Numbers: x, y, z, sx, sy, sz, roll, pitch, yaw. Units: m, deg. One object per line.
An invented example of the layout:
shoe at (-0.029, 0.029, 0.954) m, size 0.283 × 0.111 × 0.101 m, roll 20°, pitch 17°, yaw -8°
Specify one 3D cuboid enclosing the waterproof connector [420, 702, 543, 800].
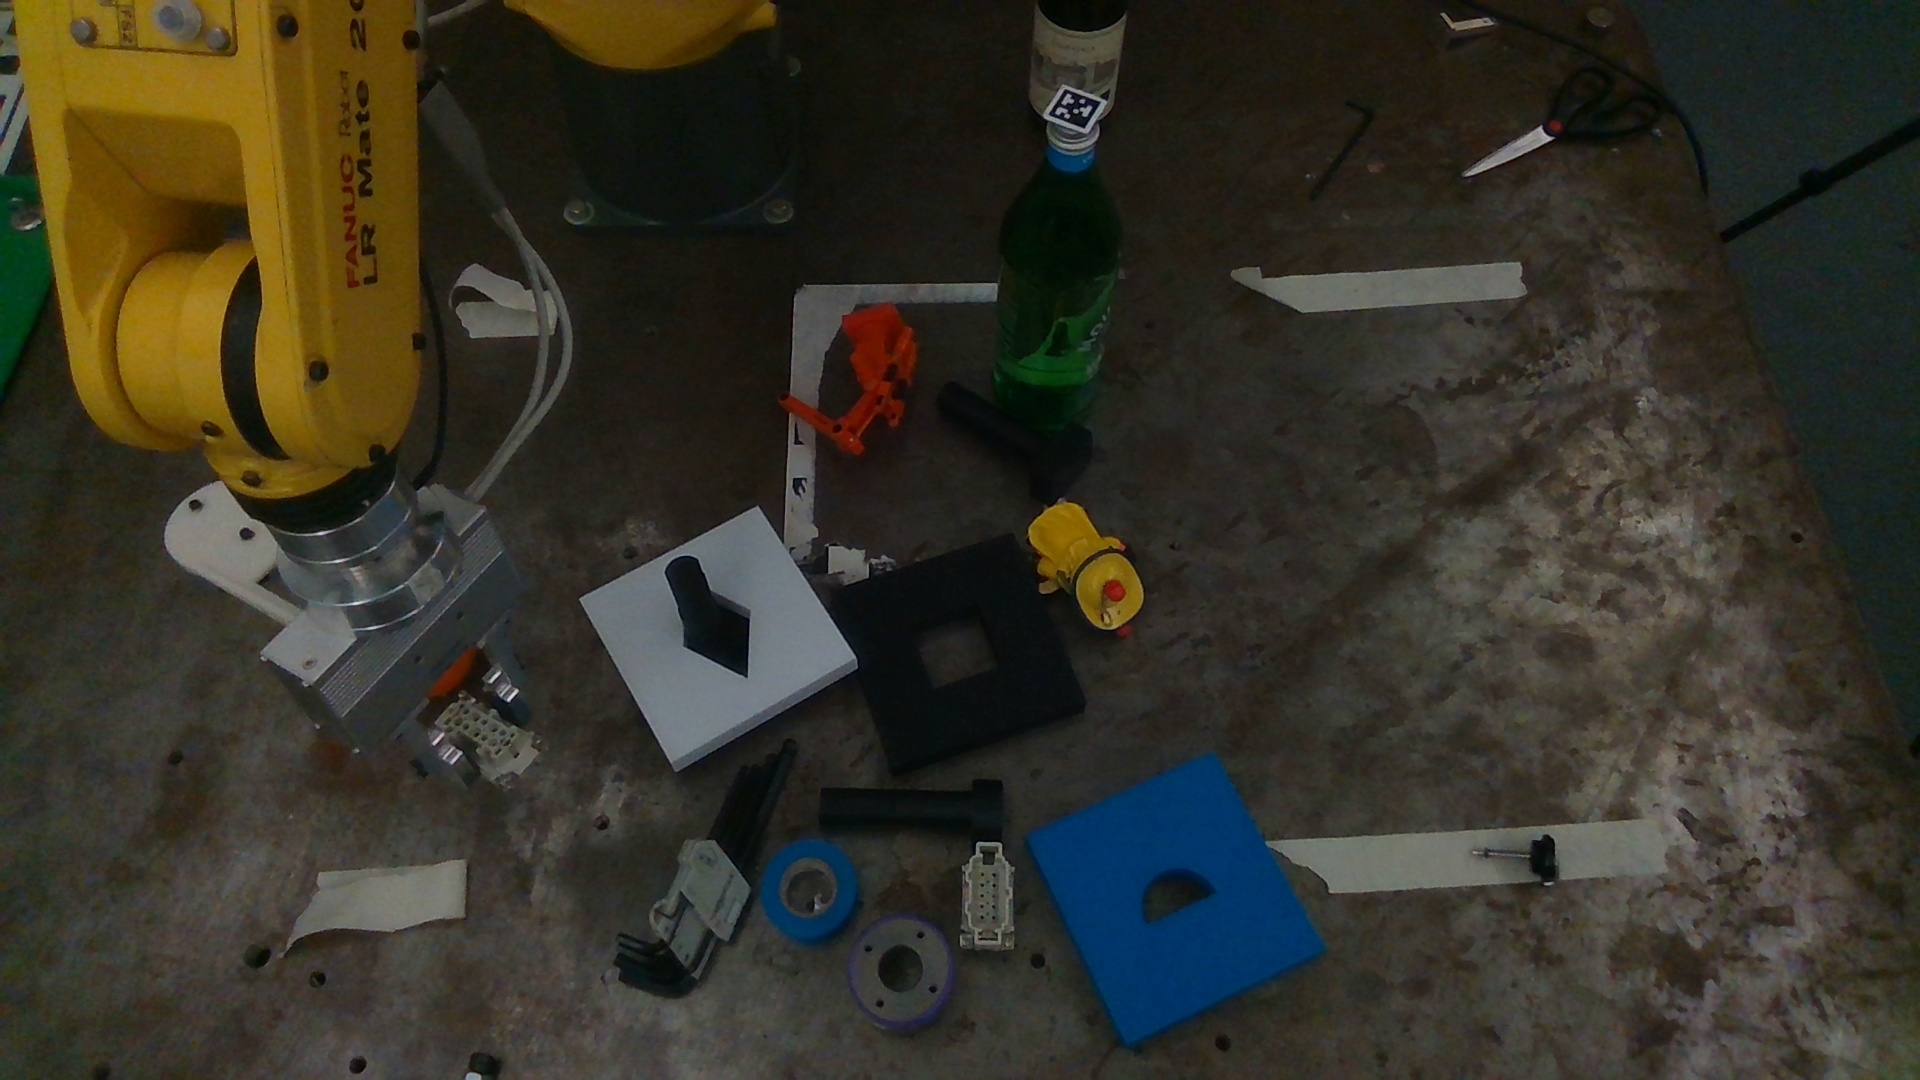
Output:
waterproof connector at (-0.278, 0.121, 0.807) m, size 0.069 × 0.038 × 0.036 m, roll 23°, pitch 64°, yaw 20°
